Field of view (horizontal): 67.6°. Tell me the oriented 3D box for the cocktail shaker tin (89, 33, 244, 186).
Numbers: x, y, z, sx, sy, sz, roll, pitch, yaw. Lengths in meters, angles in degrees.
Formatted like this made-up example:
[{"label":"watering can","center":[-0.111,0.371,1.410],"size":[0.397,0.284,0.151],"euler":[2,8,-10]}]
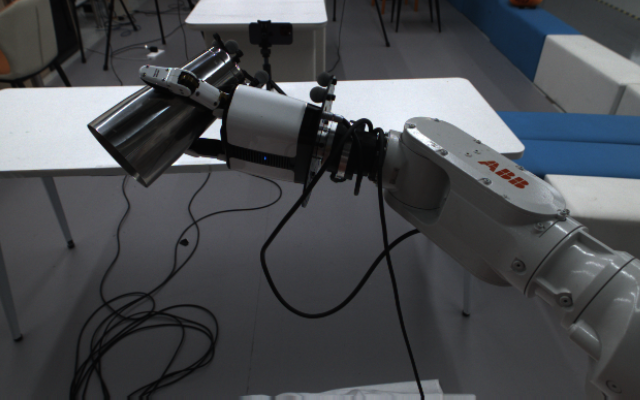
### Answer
[{"label":"cocktail shaker tin","center":[-0.169,-0.108,0.567],"size":[0.093,0.093,0.170],"euler":[32,66,36]}]
